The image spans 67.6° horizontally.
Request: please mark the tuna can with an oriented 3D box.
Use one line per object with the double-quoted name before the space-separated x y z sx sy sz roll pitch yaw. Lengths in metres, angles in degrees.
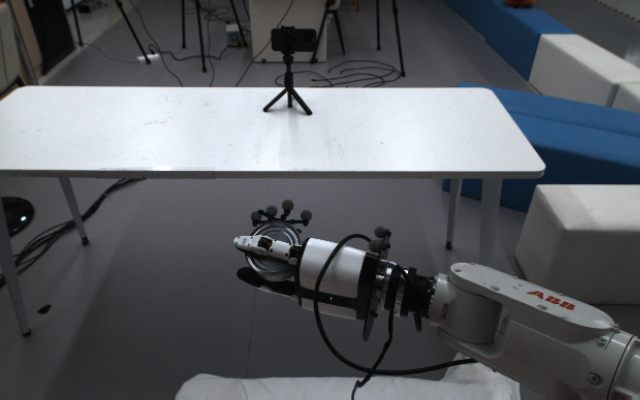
"tuna can" -0.064 0.076 0.711 0.085 0.034 0.085 -6 61 10
